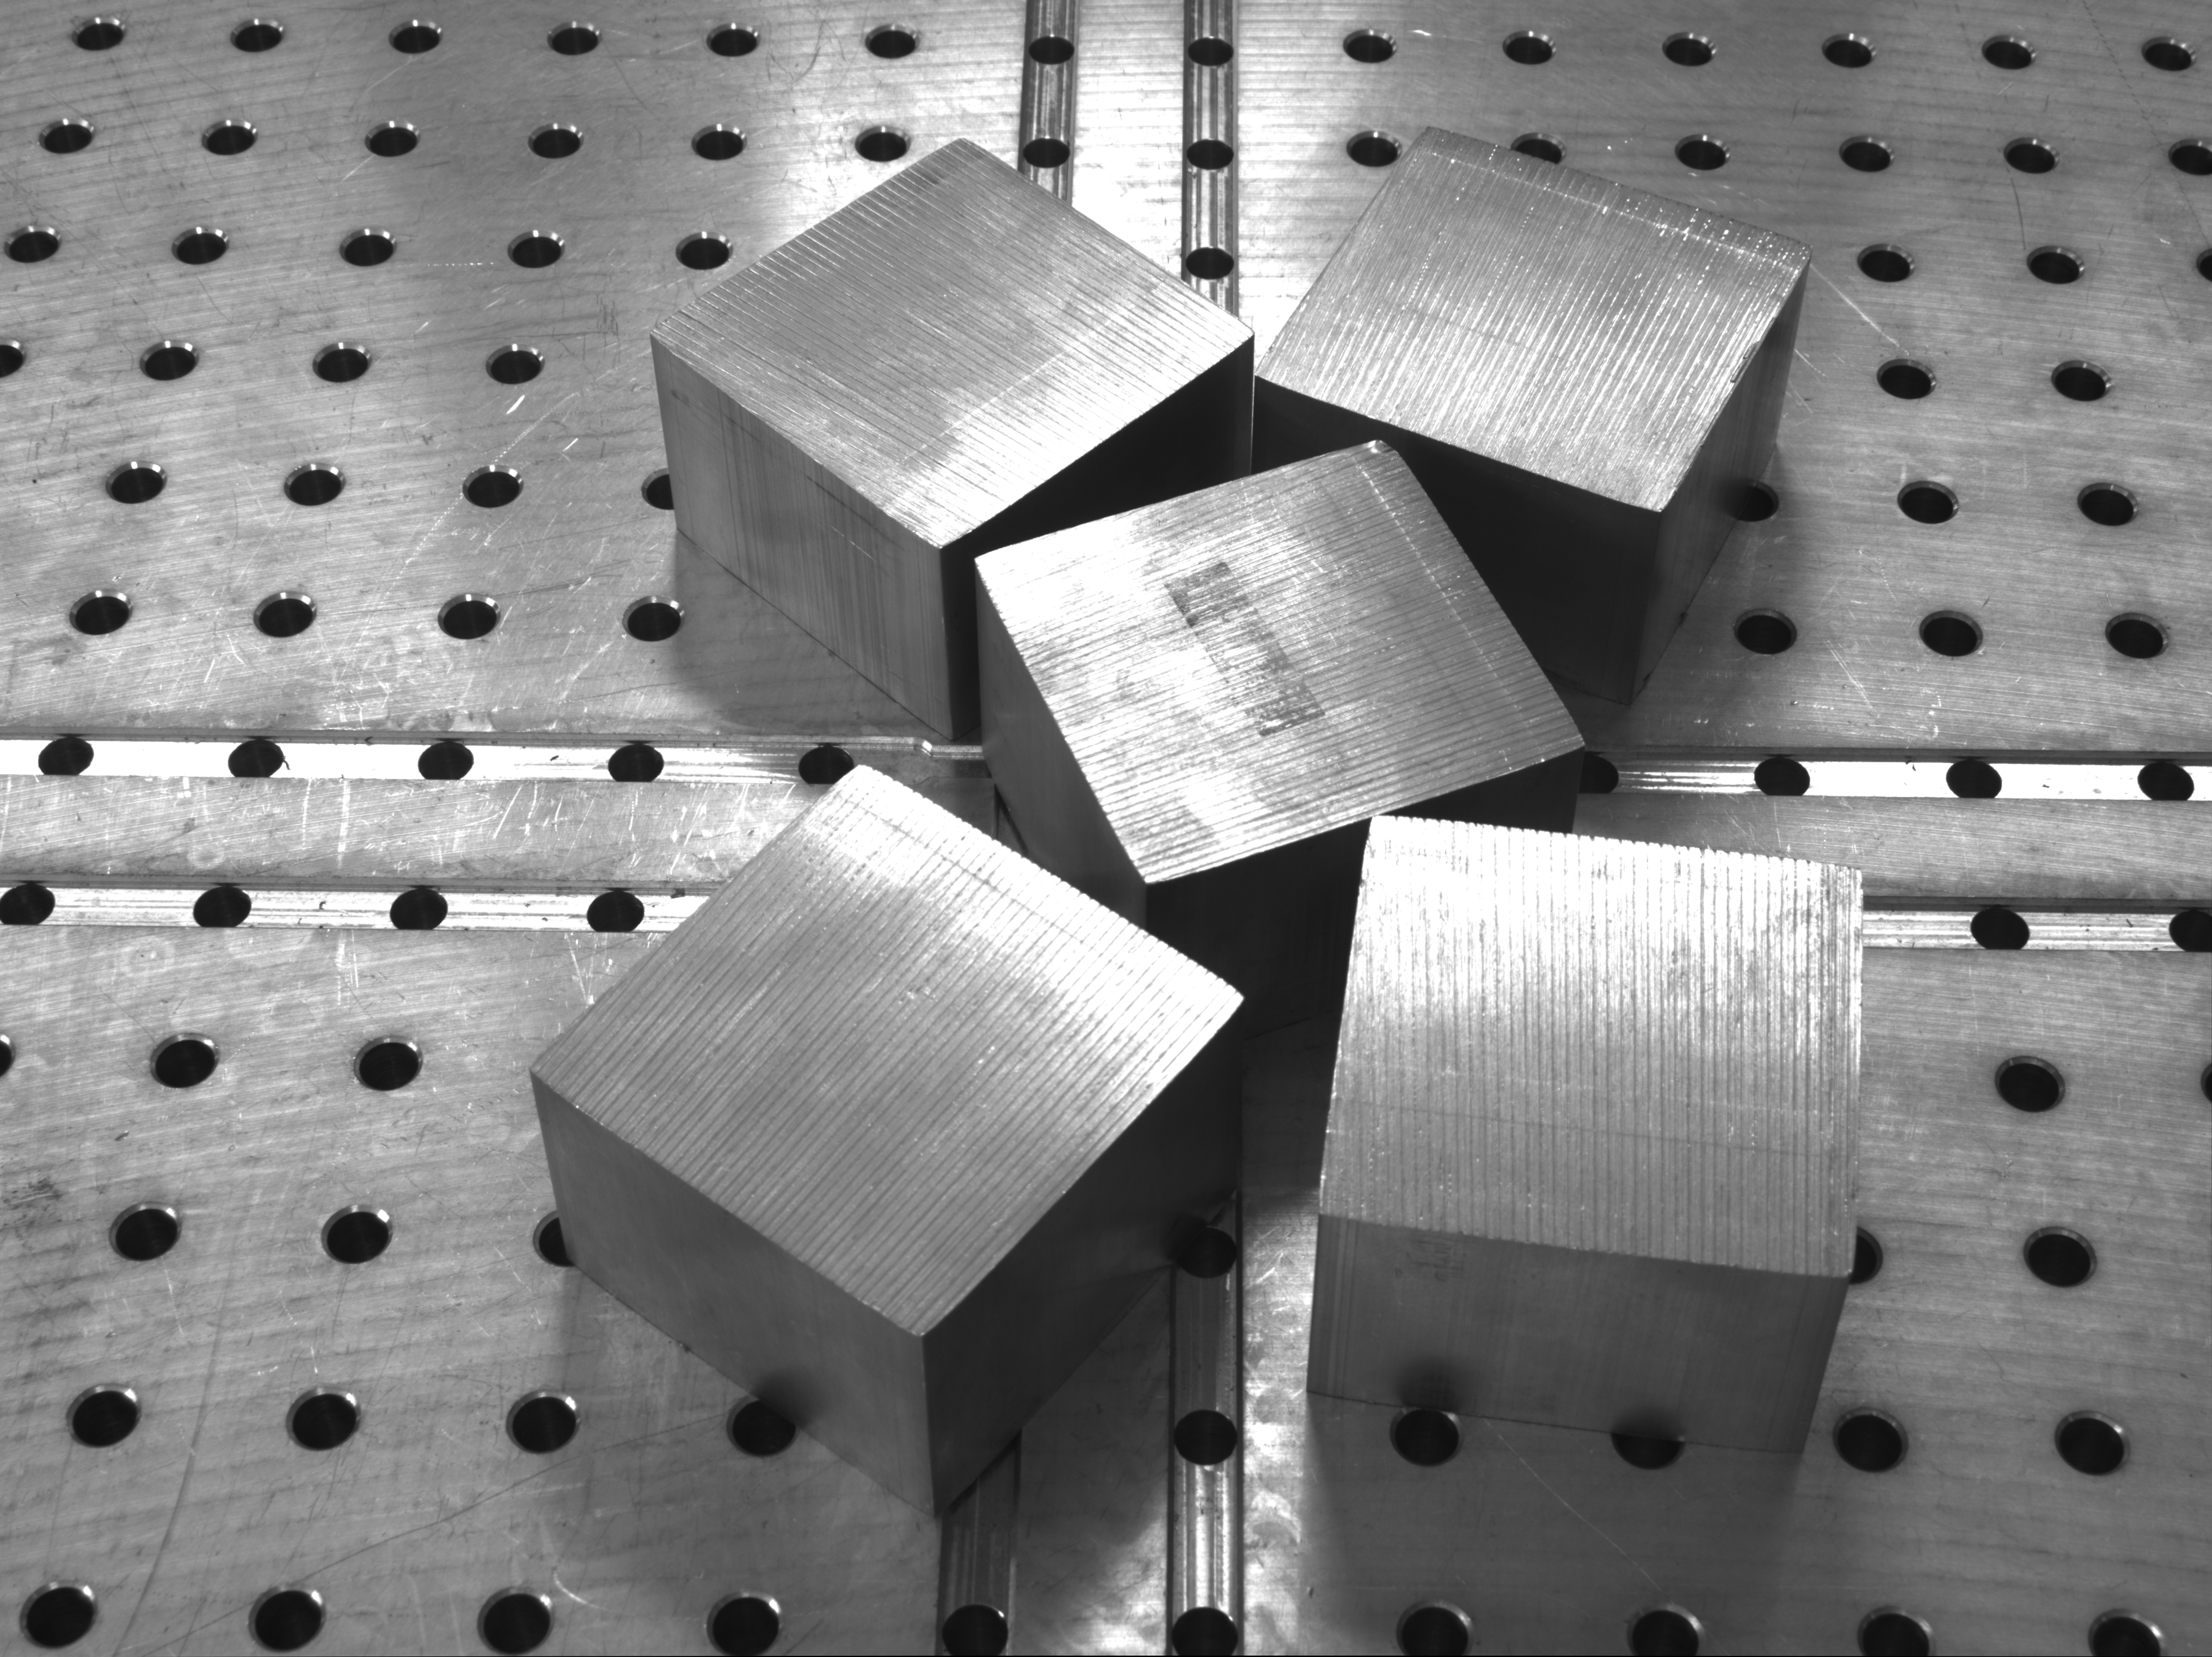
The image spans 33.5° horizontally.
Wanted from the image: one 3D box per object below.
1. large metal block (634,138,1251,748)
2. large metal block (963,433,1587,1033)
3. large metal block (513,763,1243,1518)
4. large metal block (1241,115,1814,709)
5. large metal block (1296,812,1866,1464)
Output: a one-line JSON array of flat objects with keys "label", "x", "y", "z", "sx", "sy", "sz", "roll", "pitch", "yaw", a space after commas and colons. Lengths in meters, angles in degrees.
[{"label": "large metal block", "x": -0.030, "y": -0.074, "z": 0.692, "sx": 0.080, "sy": 0.050, "sz": 0.080, "roll": -37, "pitch": 58, "yaw": -26}, {"label": "large metal block", "x": 0.028, "y": -0.014, "z": 0.640, "sx": 0.080, "sy": 0.050, "sz": 0.080, "roll": -18, "pitch": 52, "yaw": -14}, {"label": "large metal block", "x": -0.035, "y": 0.048, "z": 0.587, "sx": 0.080, "sy": 0.050, "sz": 0.080, "roll": 30, "pitch": 56, "yaw": 24}, {"label": "large metal block", "x": 0.078, "y": -0.080, "z": 0.695, "sx": 0.080, "sy": 0.050, "sz": 0.080, "roll": 22, "pitch": 53, "yaw": 14}, {"label": "large metal block", "x": 0.076, "y": 0.049, "z": 0.588, "sx": 0.080, "sy": 0.050, "sz": 0.080, "roll": 7, "pitch": 50, "yaw": 6}]
